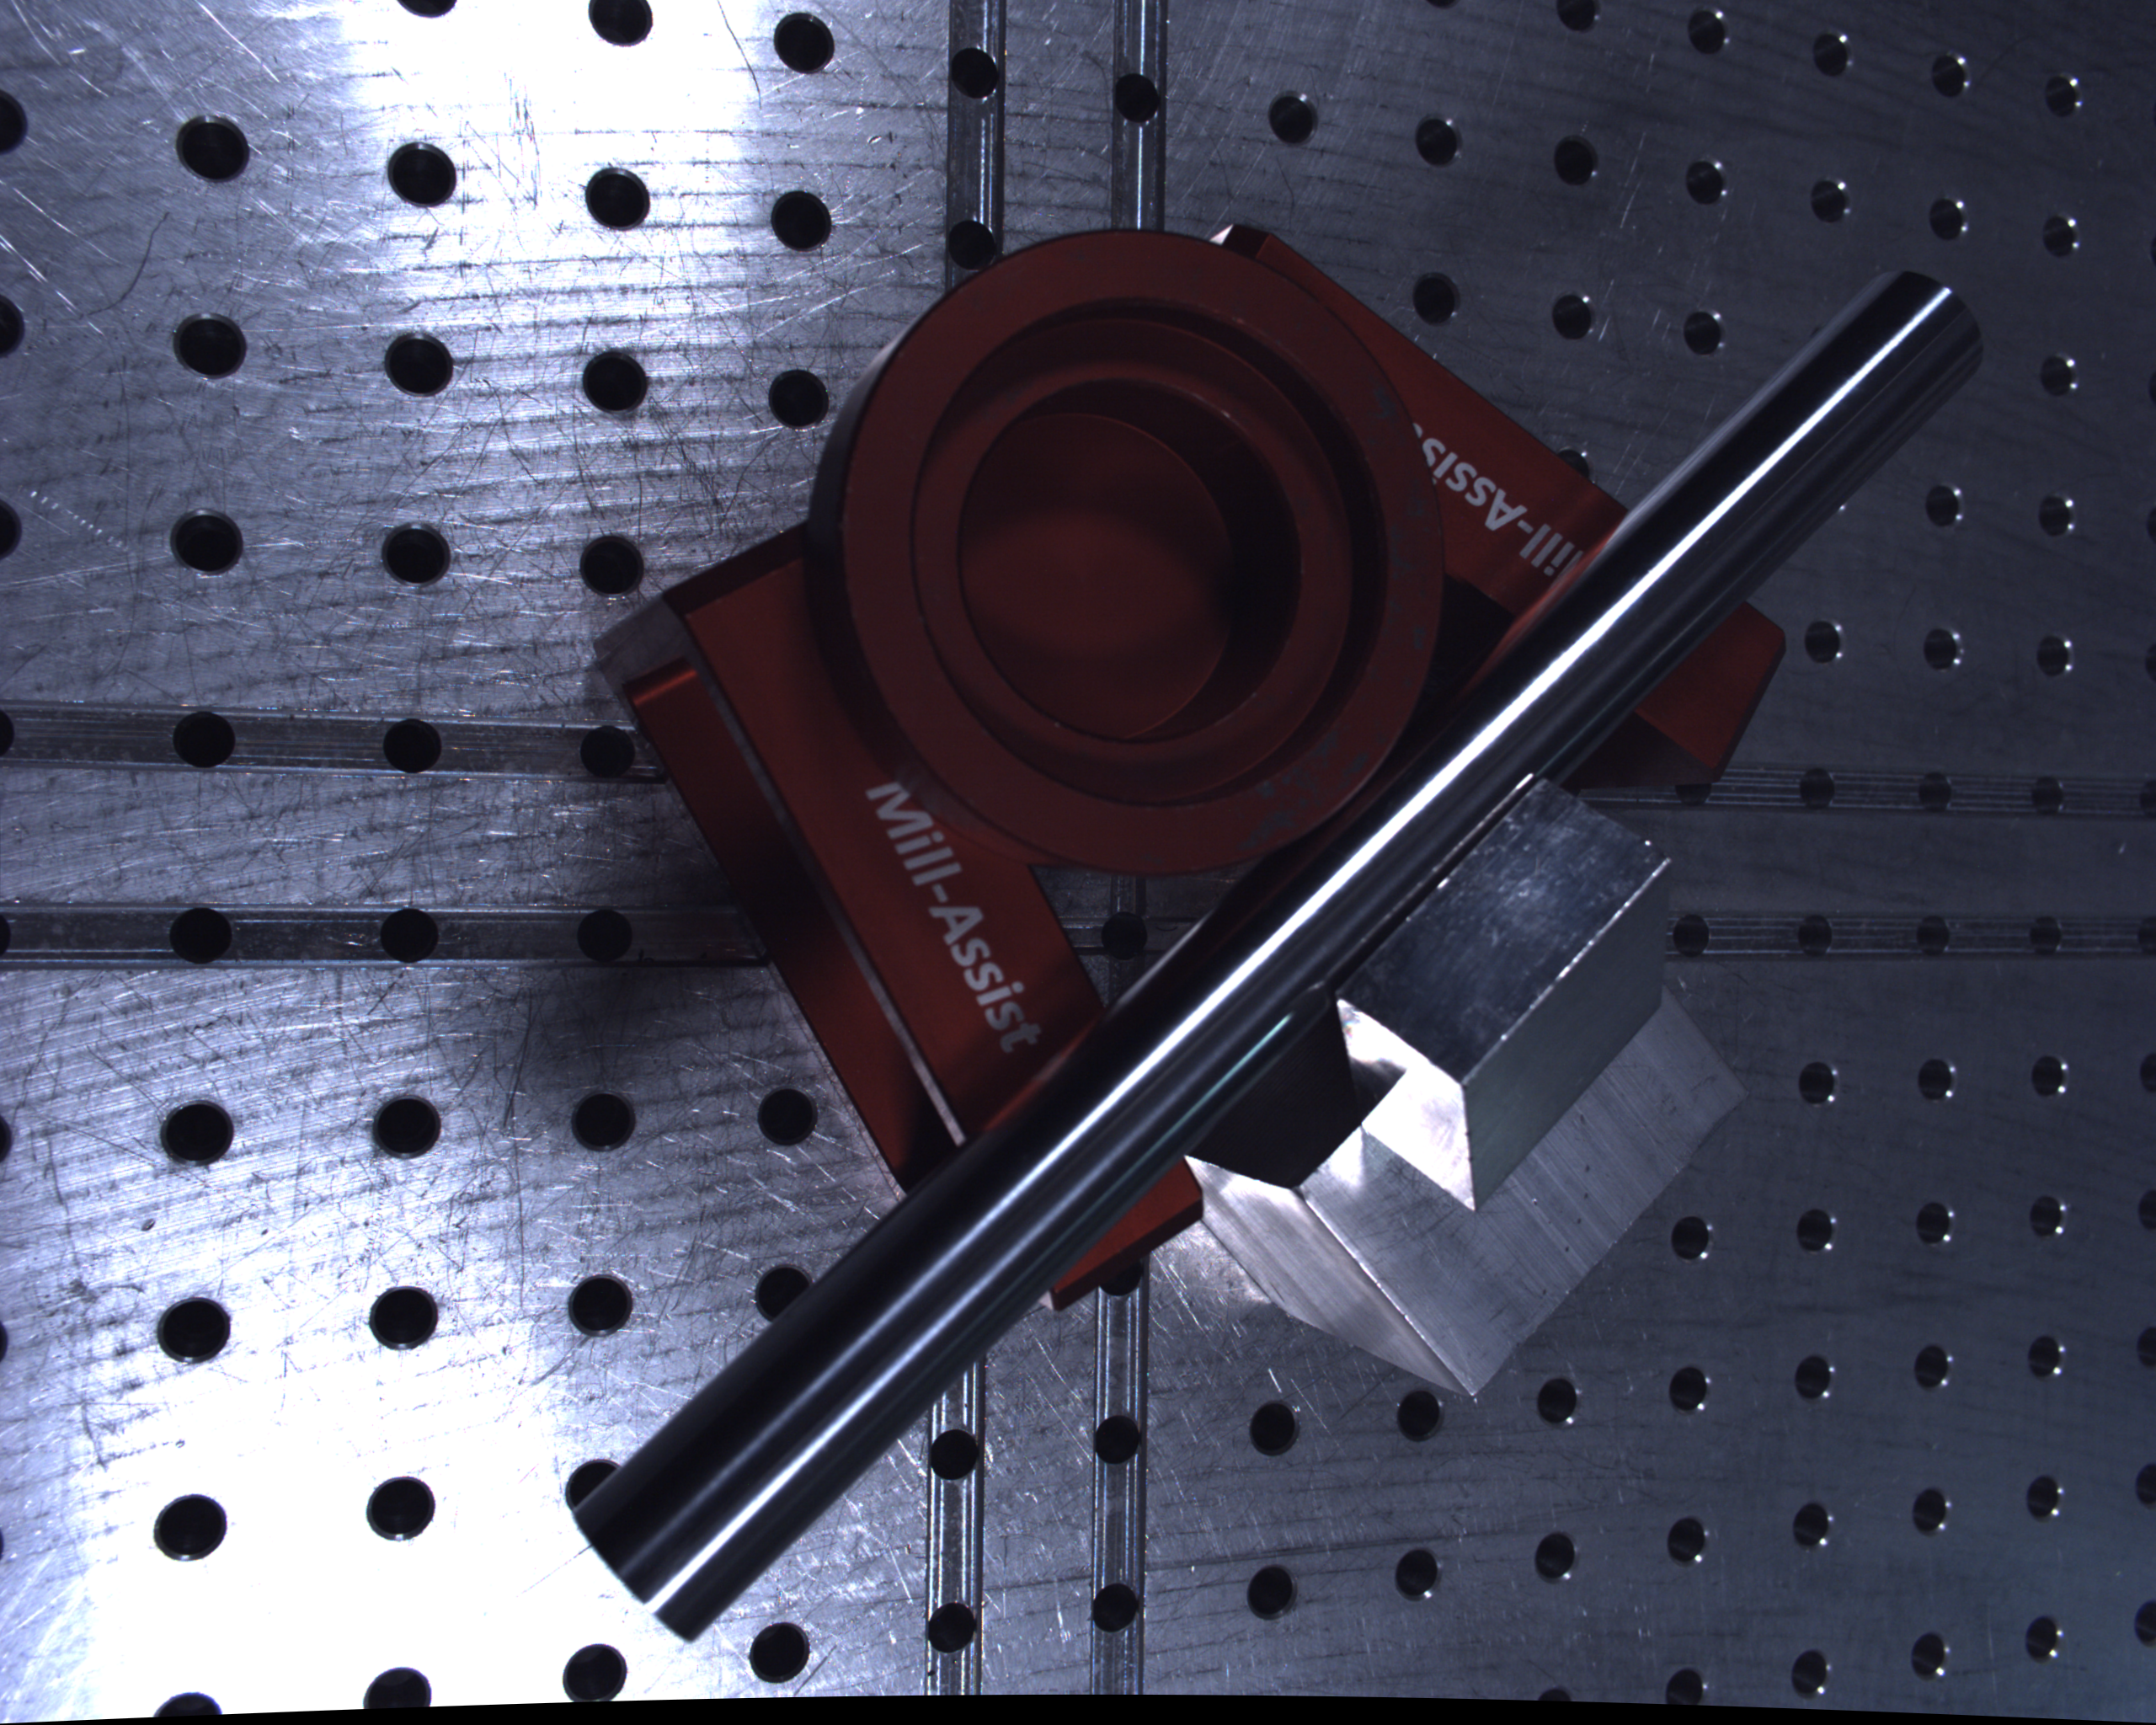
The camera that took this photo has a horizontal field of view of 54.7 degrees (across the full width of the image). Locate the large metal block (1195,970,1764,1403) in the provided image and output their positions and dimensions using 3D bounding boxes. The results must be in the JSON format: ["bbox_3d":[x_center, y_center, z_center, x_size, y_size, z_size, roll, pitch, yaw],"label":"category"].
[{"bbox_3d":[0.069,0.049,0.407,0.080,0.080,0.050,-43,104,-15],"label":"large metal block"}]

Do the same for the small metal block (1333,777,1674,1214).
[{"bbox_3d":[0.070,0.023,0.339,0.025,0.050,0.050,37,73,29],"label":"small metal block"}]

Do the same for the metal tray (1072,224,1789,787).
[{"bbox_3d":[0.058,-0.061,0.400,0.130,0.090,0.030,33,80,-18],"label":"metal tray"}]

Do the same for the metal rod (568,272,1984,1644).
[{"bbox_3d":[0.044,0.003,0.334,0.301,0.025,0.025,-42,104,-15],"label":"metal rod"}]

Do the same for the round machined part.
[{"bbox_3d":[0.005,-0.047,0.333,0.099,0.042,0.097,0,90,-21],"label":"round machined part"}]

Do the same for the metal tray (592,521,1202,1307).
[{"bbox_3d":[-0.035,0.008,0.366,0.030,0.090,0.129,-31,101,-18],"label":"metal tray"}]
